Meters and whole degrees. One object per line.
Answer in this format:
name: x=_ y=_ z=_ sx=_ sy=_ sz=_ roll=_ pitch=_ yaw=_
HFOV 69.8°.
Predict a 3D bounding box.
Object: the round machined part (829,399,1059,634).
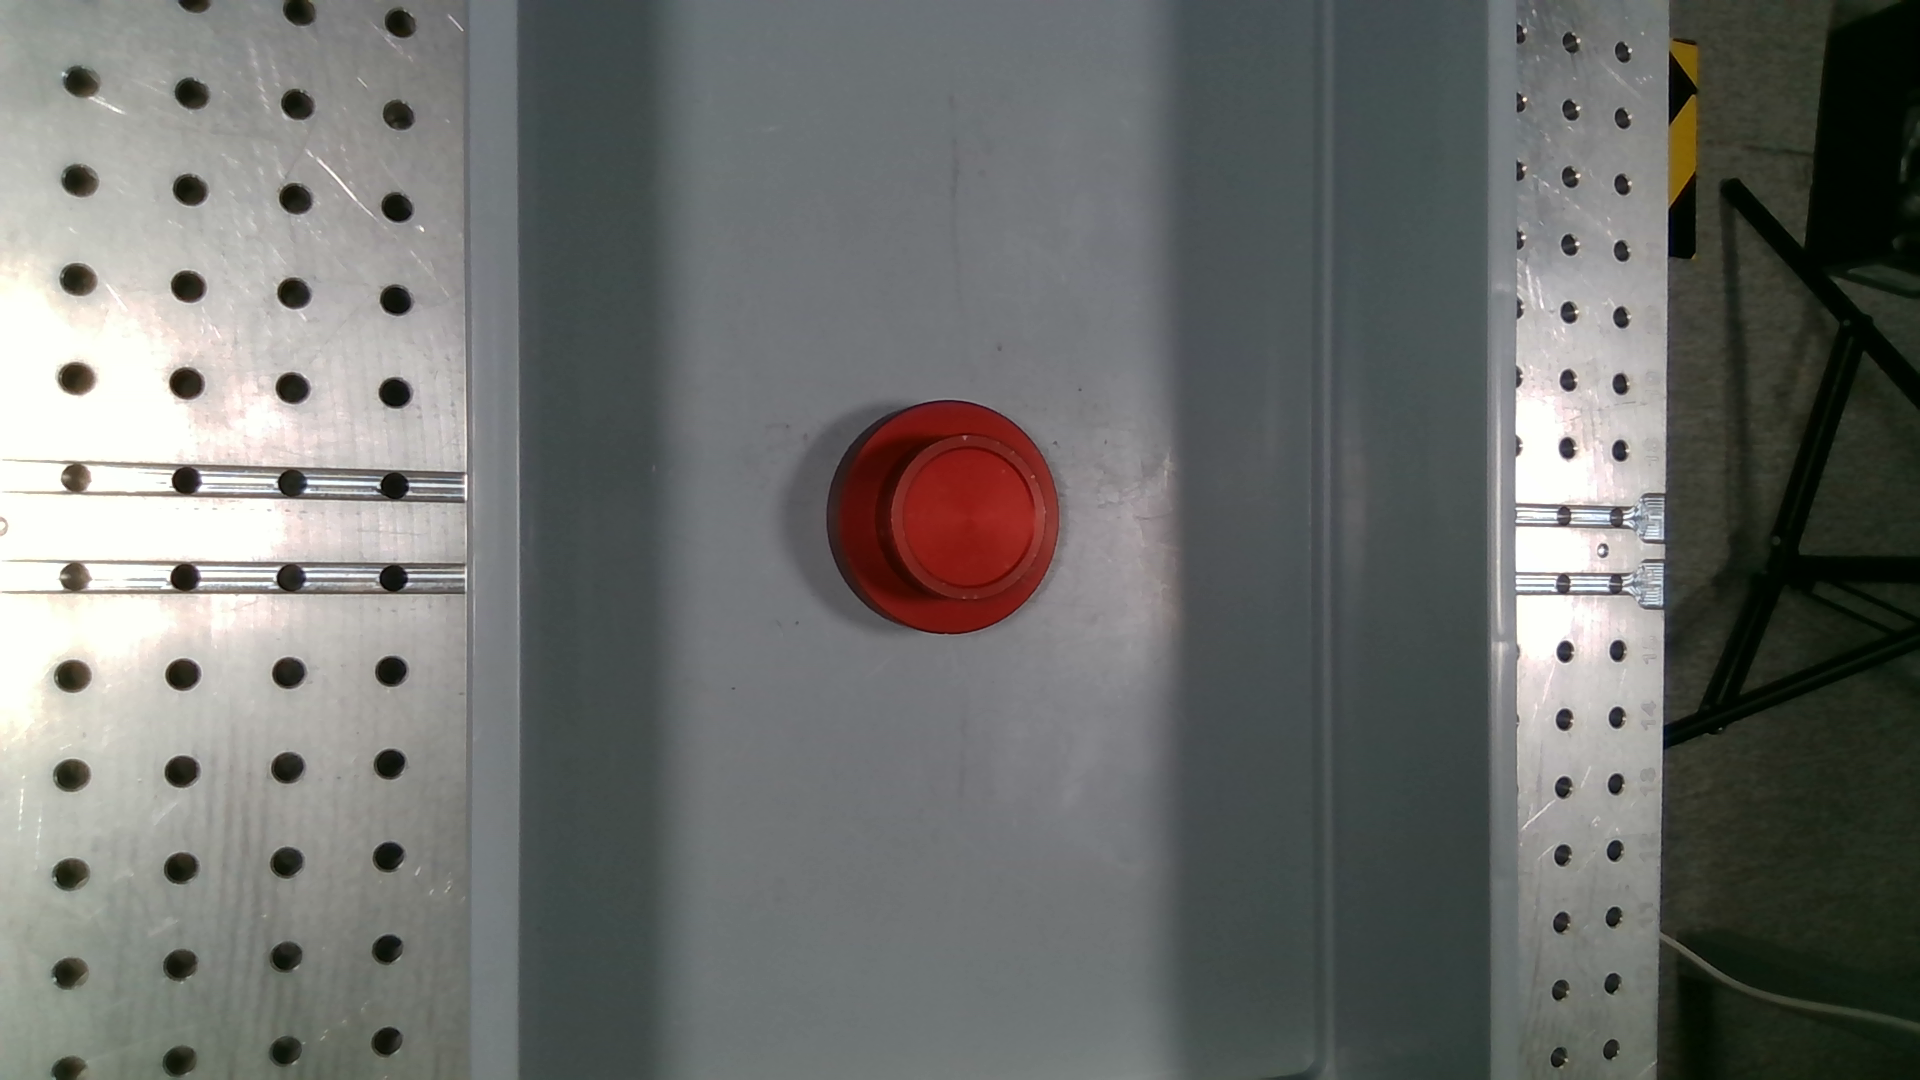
round machined part: x=-0.003 y=-0.010 z=0.572 sx=0.098 sy=0.042 sz=0.098 roll=0 pitch=90 yaw=-20
